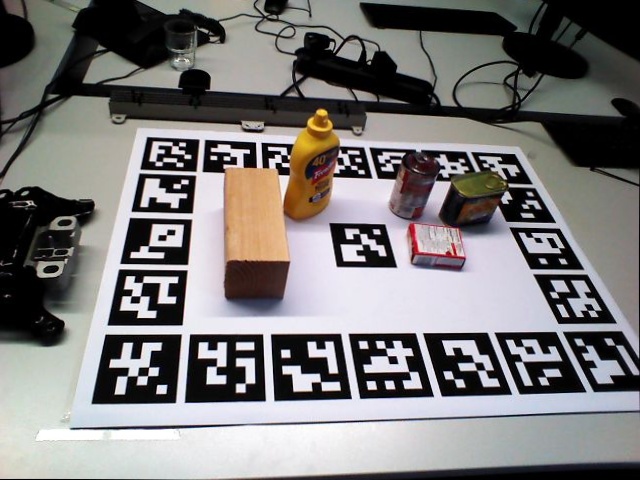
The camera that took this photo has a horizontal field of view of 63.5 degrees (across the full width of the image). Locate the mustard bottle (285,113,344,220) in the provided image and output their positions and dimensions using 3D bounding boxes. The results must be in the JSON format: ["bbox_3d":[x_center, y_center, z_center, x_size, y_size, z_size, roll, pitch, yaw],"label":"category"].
[{"bbox_3d":[-0.006,-0.121,0.847,0.096,0.192,0.058,-19,52,-27],"label":"mustard bottle"}]

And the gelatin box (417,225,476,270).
[{"bbox_3d":[0.209,0.010,0.857,0.089,0.030,0.073,7,48,0],"label":"gelatin box"}]

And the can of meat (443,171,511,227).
[{"bbox_3d":[0.278,-0.072,0.917,0.101,0.084,0.057,-9,49,-20],"label":"can of meat"}]

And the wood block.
[{"bbox_3d":[-0.098,-0.015,0.794,0.091,0.090,0.205,2,42,-10],"label":"wood block"}]

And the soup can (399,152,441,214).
[{"bbox_3d":[0.181,-0.102,0.904,0.068,0.102,0.067,4,48,-5],"label":"soup can"}]
